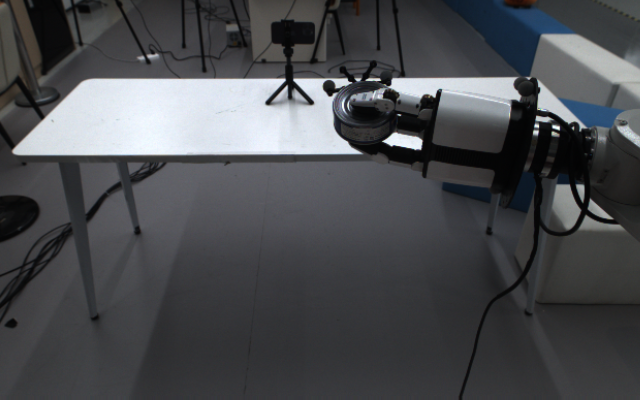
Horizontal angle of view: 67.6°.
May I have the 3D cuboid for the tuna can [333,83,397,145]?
[{"bbox_3d":[0.064,-0.109,0.633,0.085,0.034,0.085,-3,60,5],"label":"tuna can"}]
